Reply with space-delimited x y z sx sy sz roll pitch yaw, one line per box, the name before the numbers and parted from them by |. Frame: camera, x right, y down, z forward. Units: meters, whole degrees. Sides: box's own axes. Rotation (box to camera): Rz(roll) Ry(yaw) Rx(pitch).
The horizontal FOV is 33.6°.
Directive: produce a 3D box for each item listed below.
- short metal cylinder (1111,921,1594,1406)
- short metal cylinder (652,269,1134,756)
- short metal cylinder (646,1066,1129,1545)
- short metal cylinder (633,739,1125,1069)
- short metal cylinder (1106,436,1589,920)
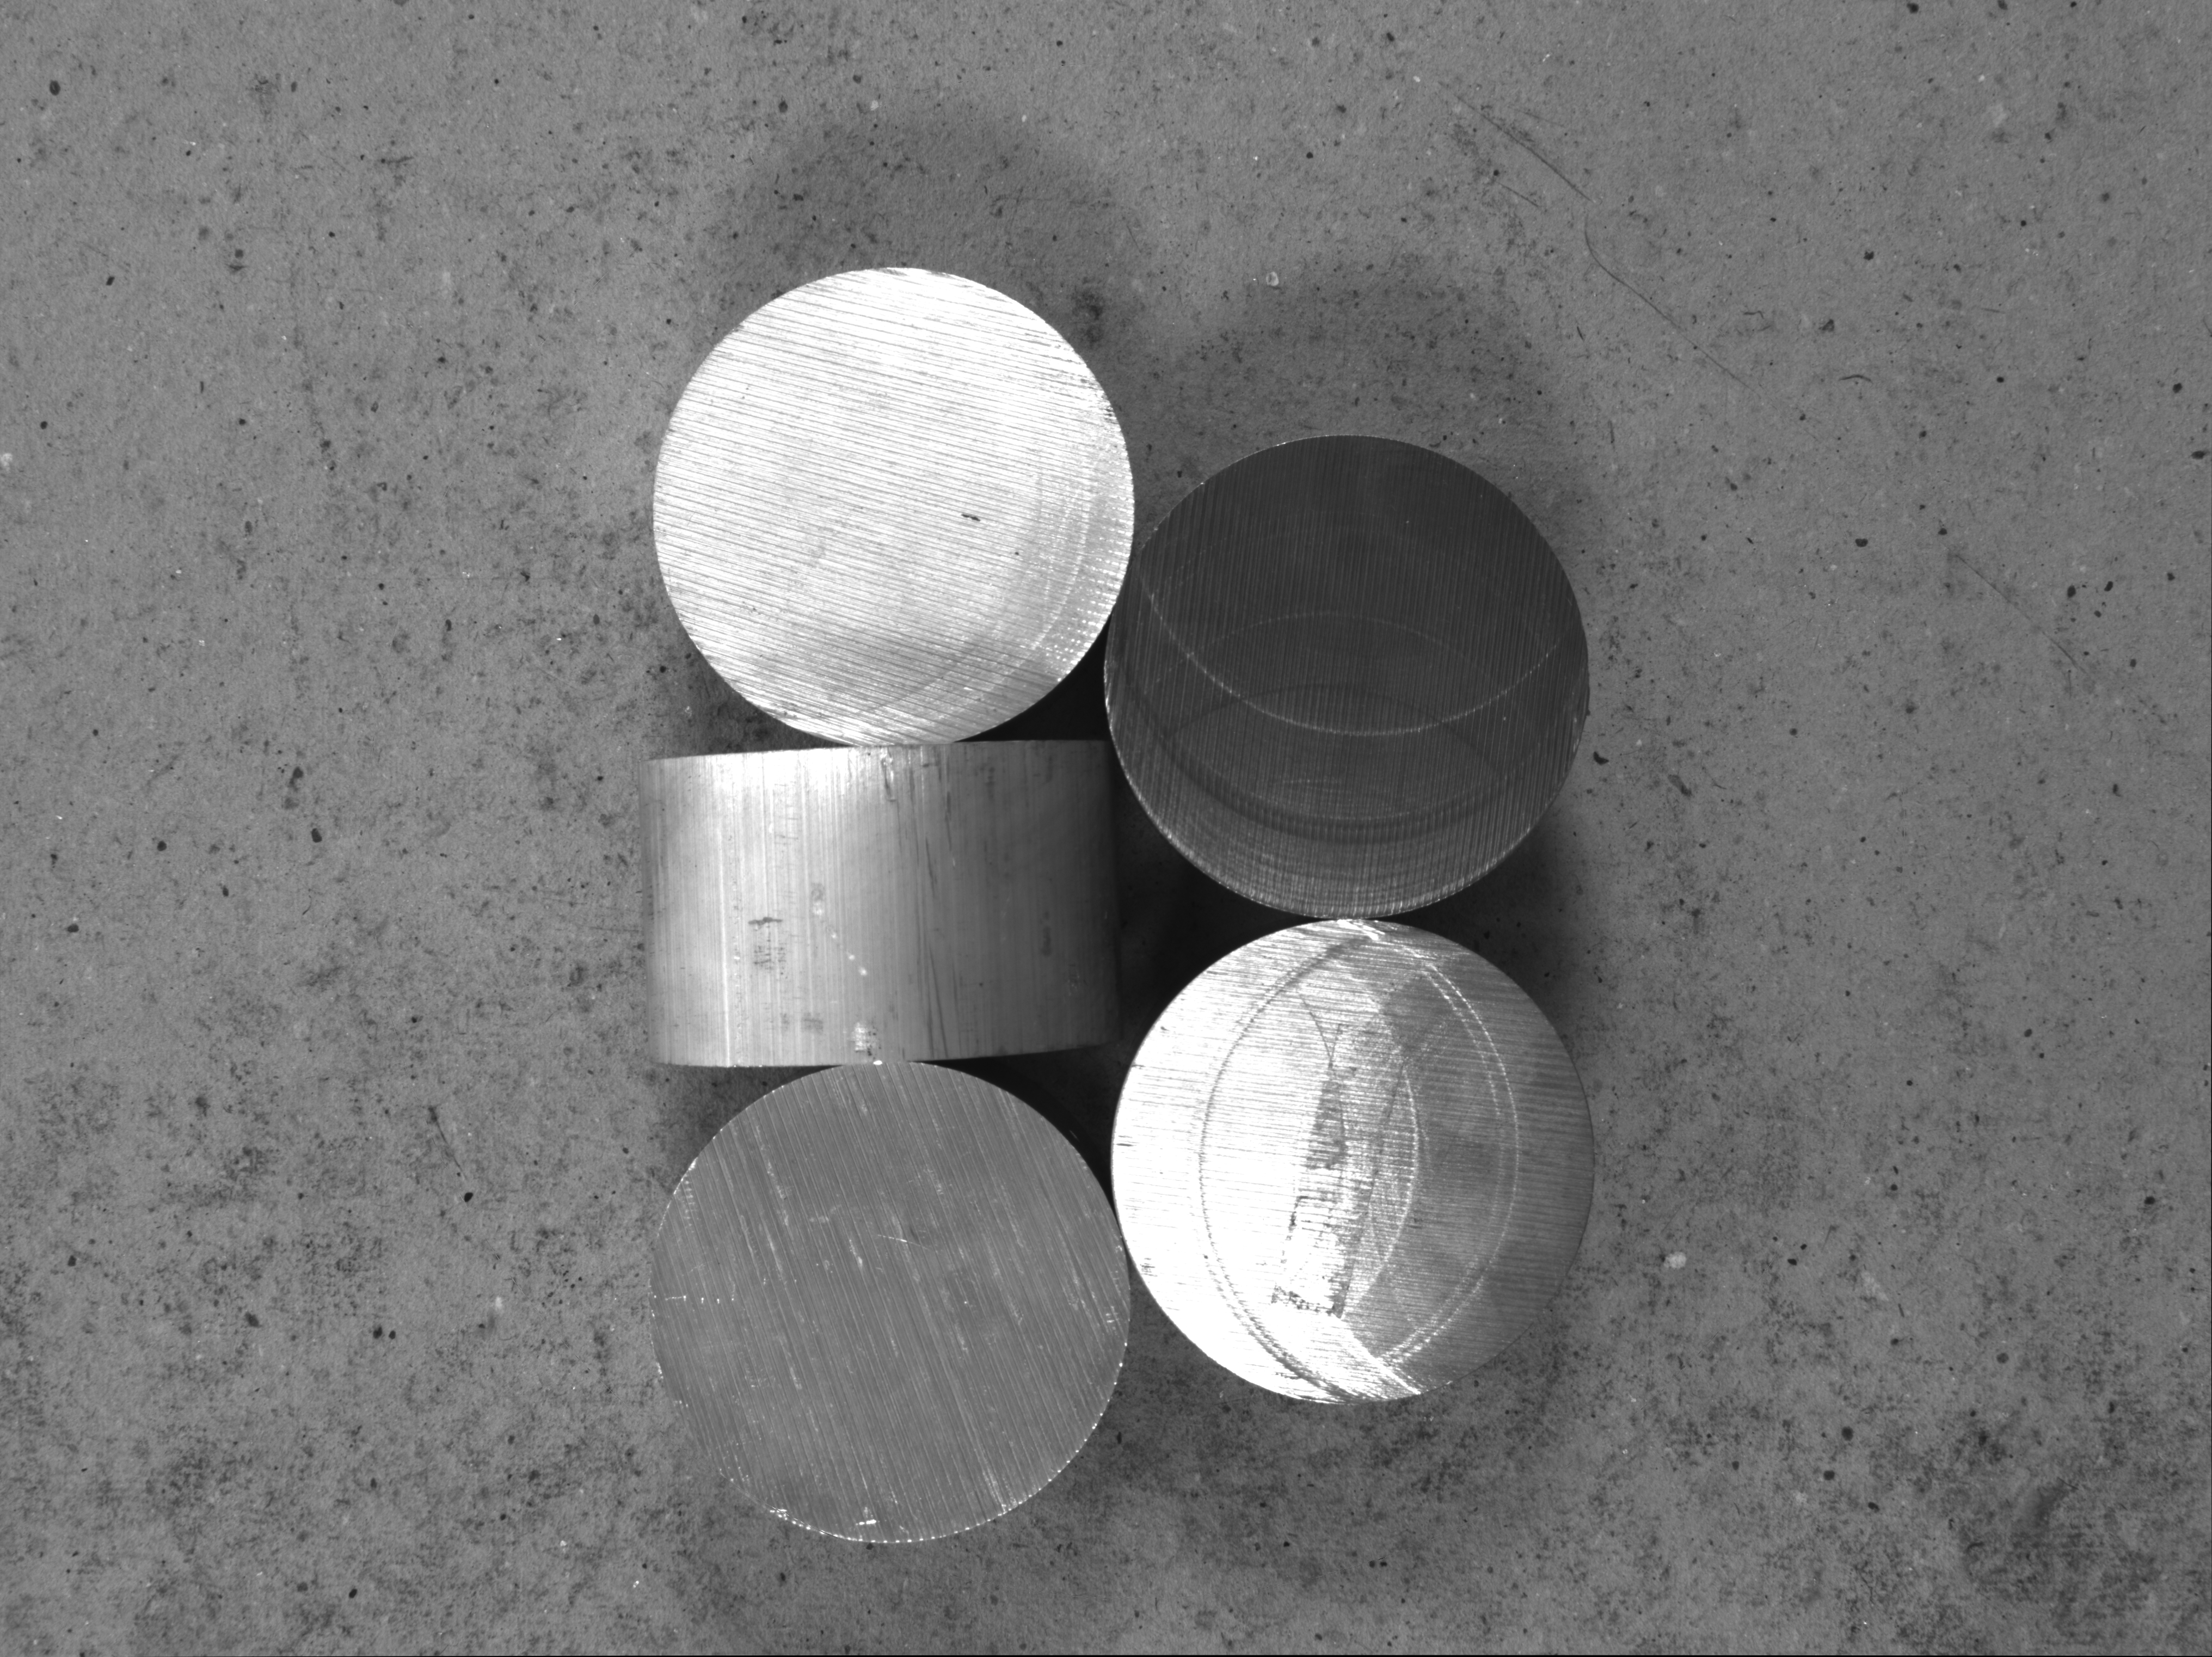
short metal cylinder | 0.041 0.055 0.632 0.080 0.050 0.080 0 90 1
short metal cylinder | -0.035 -0.053 0.633 0.080 0.050 0.080 0 90 1
short metal cylinder | -0.036 0.079 0.632 0.080 0.050 0.080 0 90 1
short metal cylinder | -0.038 0.012 0.618 0.080 0.080 0.050 -3 90 0
short metal cylinder | 0.040 -0.025 0.632 0.080 0.050 0.080 0 90 0
